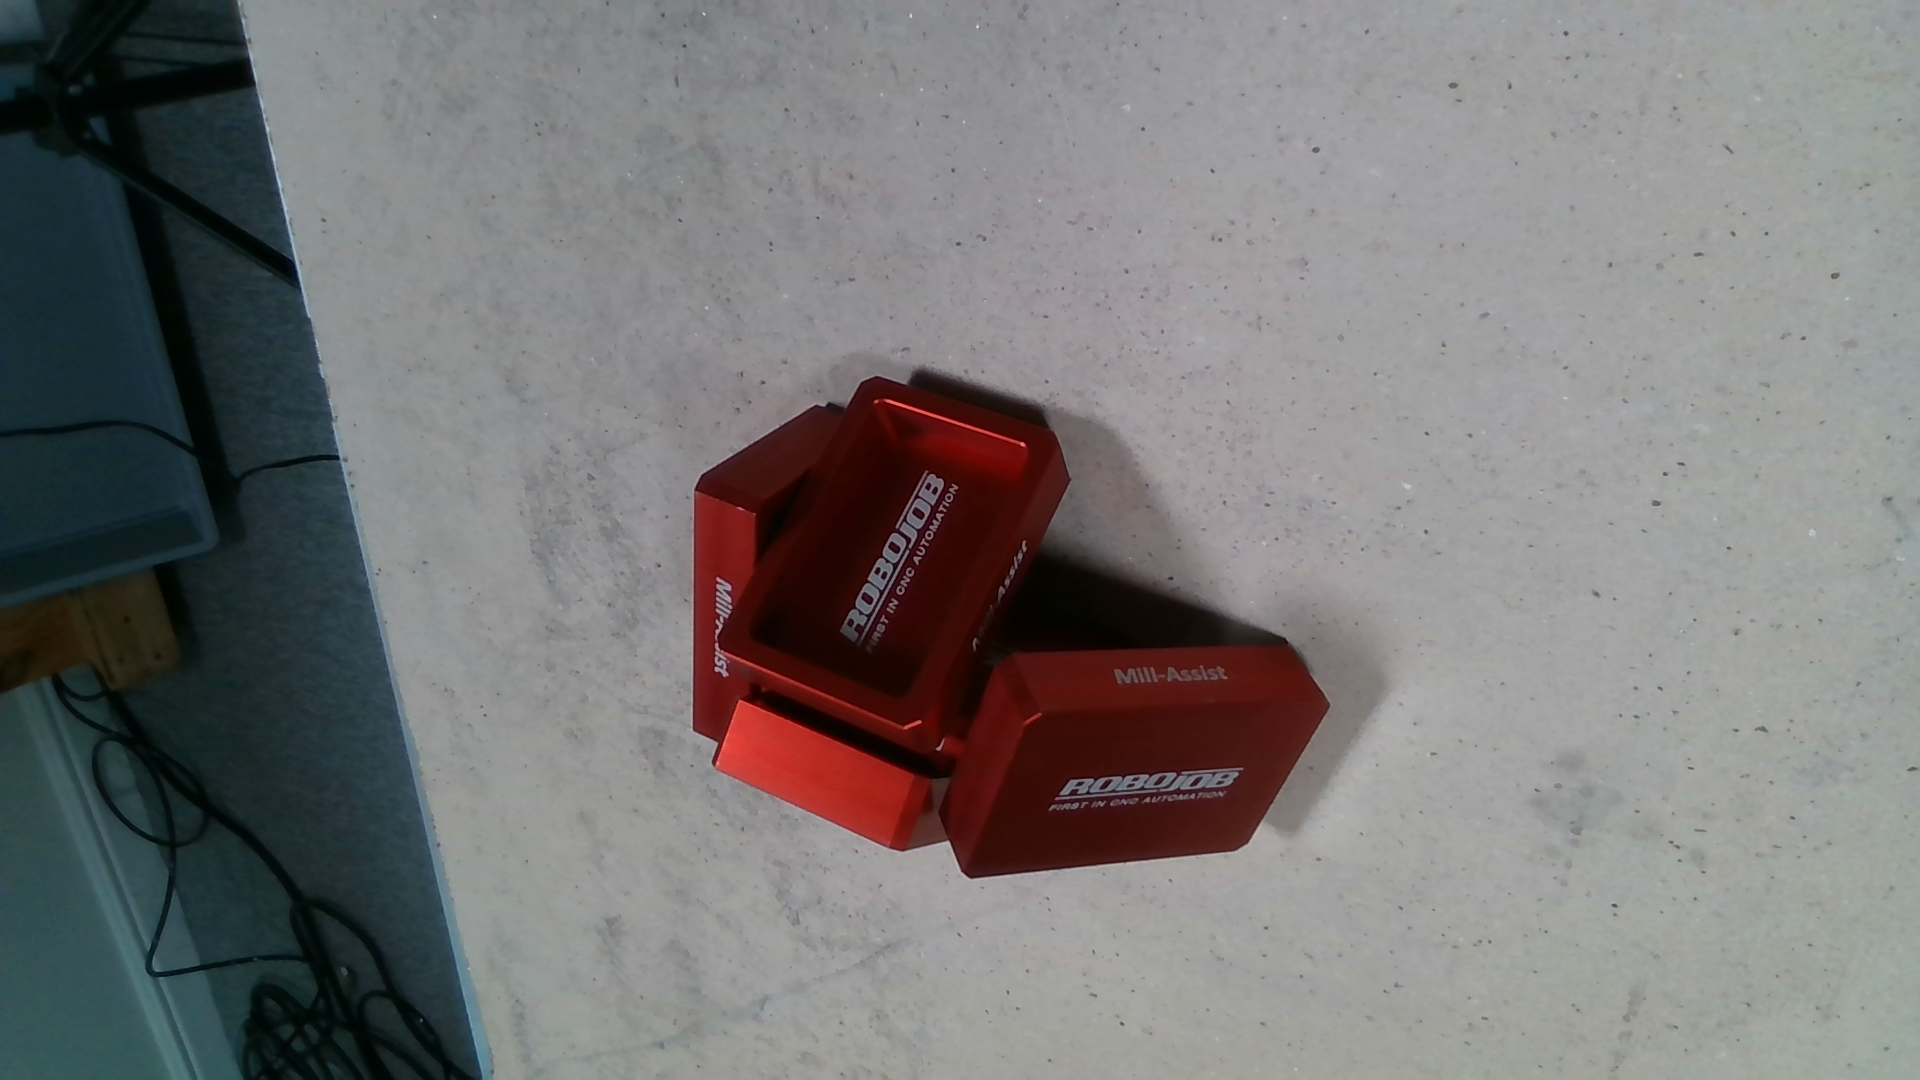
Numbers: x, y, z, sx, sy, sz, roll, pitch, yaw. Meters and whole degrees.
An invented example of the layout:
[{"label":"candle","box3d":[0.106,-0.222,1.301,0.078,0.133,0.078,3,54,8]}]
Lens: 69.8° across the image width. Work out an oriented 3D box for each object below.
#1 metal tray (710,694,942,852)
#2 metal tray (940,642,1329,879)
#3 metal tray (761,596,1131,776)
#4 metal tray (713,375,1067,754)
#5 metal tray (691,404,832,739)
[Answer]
[{"label":"metal tray","box3d":[-0.035,0.097,0.590,0.090,0.130,0.030,20,90,22]},{"label":"metal tray","box3d":[0.065,0.084,0.526,0.030,0.130,0.090,-117,35,-44]},{"label":"metal tray","box3d":[-0.006,0.052,0.570,0.130,0.090,0.030,21,124,21]},{"label":"metal tray","box3d":[-0.025,0.006,0.536,0.090,0.130,0.030,20,160,21]},{"label":"metal tray","box3d":[-0.076,0.017,0.594,0.030,0.090,0.130,21,124,21]}]
